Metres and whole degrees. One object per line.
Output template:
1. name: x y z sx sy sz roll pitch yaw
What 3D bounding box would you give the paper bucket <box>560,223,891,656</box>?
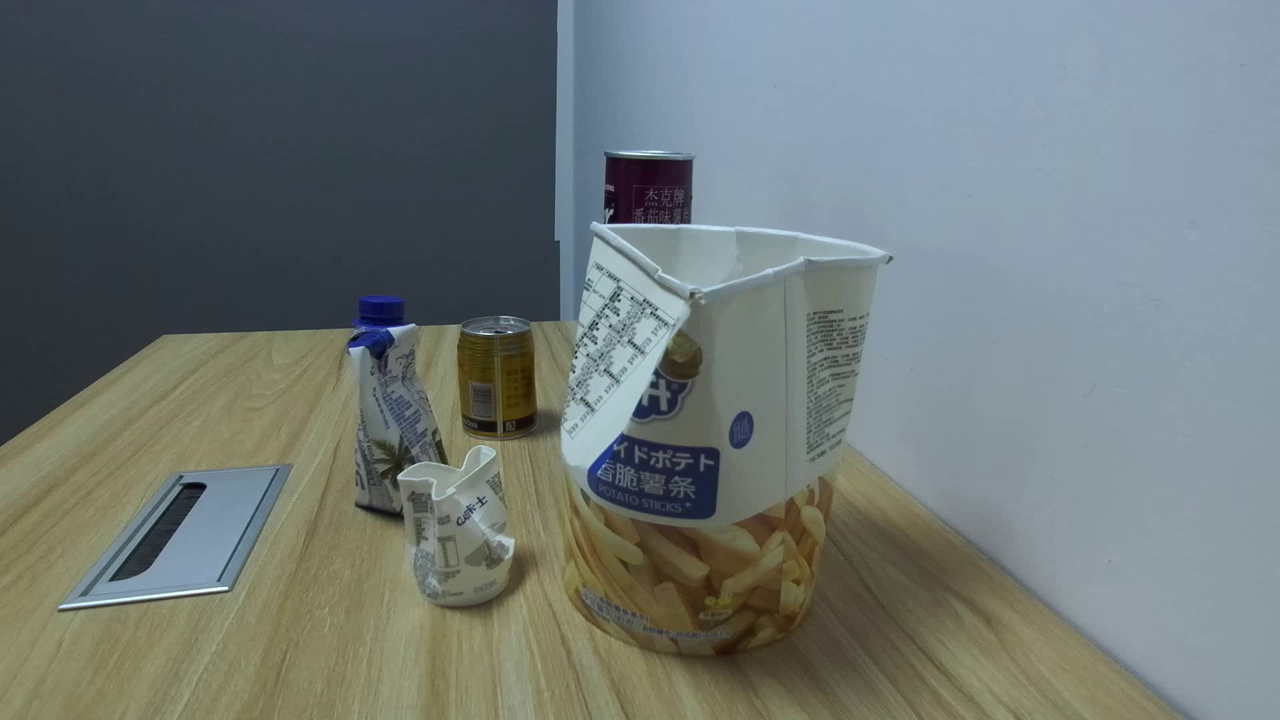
1. paper bucket: 0.025 0.031 0.394 0.170 0.202 0.162 -12 21 -43

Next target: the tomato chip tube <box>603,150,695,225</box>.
1. tomato chip tube: 0.001 -0.052 0.578 0.076 0.234 0.080 8 21 16

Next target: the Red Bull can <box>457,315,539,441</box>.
1. Red Bull can: -0.121 0.018 0.608 0.068 0.093 0.068 1 11 0

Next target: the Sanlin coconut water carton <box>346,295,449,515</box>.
1. Sanlin coconut water carton: -0.173 0.032 0.471 0.056 0.145 0.068 0 23 22

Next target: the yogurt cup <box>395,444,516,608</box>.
1. yogurt cup: -0.102 0.092 0.397 0.055 0.072 0.055 -16 24 -41
